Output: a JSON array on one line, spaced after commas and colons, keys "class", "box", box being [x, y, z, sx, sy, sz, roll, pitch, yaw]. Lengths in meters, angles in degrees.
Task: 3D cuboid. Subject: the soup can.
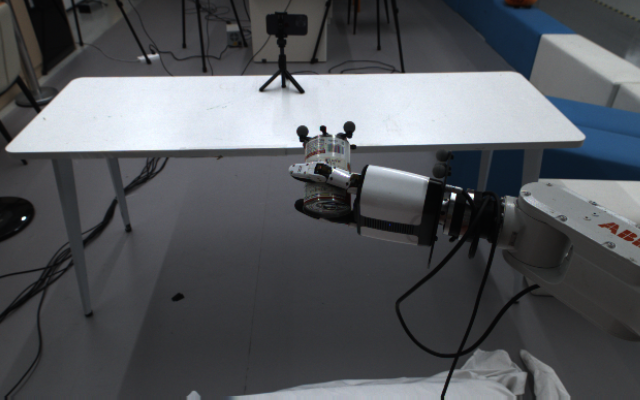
[{"class": "soup can", "box": [0.012, -0.034, 0.685, 0.067, 0.067, 0.101, 1, 68, -1]}]
